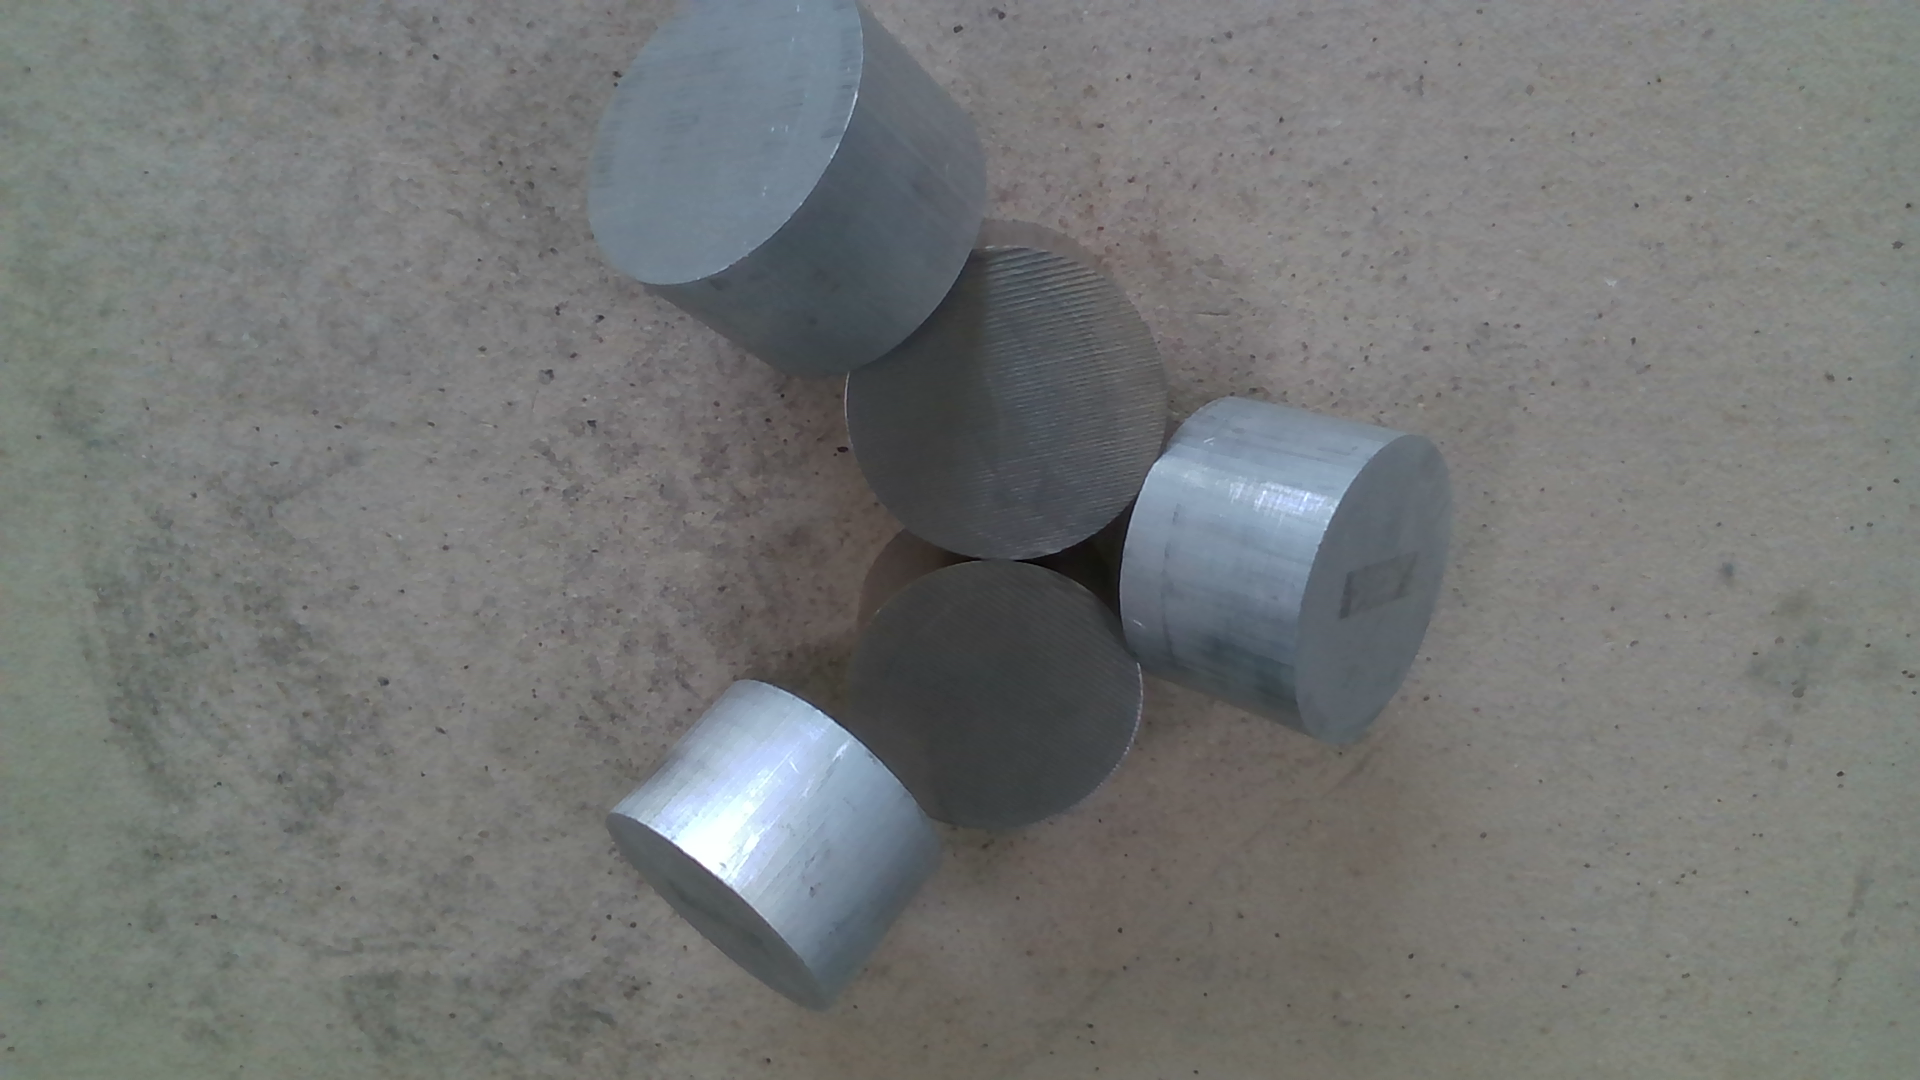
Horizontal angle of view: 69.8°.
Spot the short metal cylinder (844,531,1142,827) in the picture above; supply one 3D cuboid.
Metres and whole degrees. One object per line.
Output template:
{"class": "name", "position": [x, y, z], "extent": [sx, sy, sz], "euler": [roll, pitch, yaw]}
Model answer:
{"class": "short metal cylinder", "position": [0.009, 0.034, 0.393], "extent": [0.080, 0.050, 0.080], "euler": [0, 110, 0]}

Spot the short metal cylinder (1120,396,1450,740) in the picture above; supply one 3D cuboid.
{"class": "short metal cylinder", "position": [0.086, 0.006, 0.360], "extent": [0.050, 0.080, 0.080], "euler": [19, 116, 39]}

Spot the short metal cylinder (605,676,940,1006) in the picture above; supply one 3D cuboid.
{"class": "short metal cylinder", "position": [-0.053, 0.085, 0.389], "extent": [0.080, 0.080, 0.050], "euler": [51, 61, -16]}

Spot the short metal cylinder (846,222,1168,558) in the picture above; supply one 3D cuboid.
{"class": "short metal cylinder", "position": [0.012, -0.041, 0.365], "extent": [0.080, 0.050, 0.080], "euler": [0, 110, 0]}

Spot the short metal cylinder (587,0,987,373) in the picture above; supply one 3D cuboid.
{"class": "short metal cylinder", "position": [-0.041, -0.087, 0.326], "extent": [0.080, 0.080, 0.050], "euler": [-42, 145, 14]}
